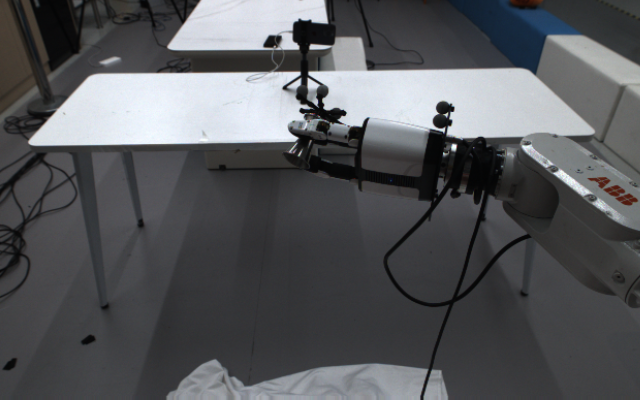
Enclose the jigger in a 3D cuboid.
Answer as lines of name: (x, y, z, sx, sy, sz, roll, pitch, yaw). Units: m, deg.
jigger: (-0.021, -0.087, 0.686, 0.043, 0.043, 0.071, 21, 73, 25)
